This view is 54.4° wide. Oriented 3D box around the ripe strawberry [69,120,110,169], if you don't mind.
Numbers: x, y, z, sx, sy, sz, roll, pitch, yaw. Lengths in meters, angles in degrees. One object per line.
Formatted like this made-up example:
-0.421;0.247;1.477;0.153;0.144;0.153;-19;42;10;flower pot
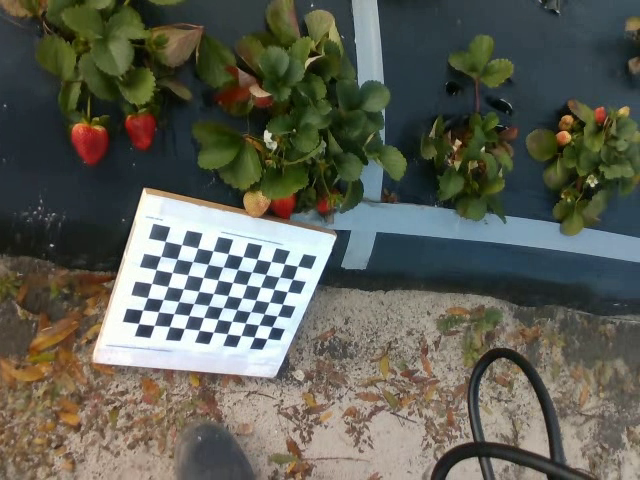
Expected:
-0.297;-0.123;0.799;0.050;0.061;0.045;3;-10;-19;ripe strawberry

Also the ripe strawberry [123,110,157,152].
-0.237;-0.145;0.819;0.042;0.053;0.034;-2;-5;-17;ripe strawberry
